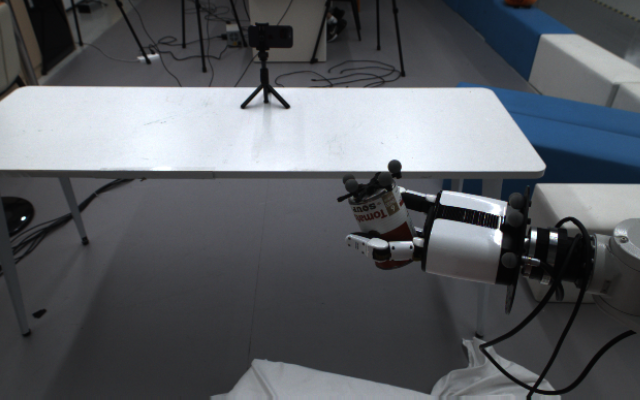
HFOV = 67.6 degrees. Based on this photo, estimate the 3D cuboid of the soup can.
[{"bbox_3d":[0.088,0.030,0.637,0.067,0.101,0.067,-23,16,7],"label":"soup can"}]
